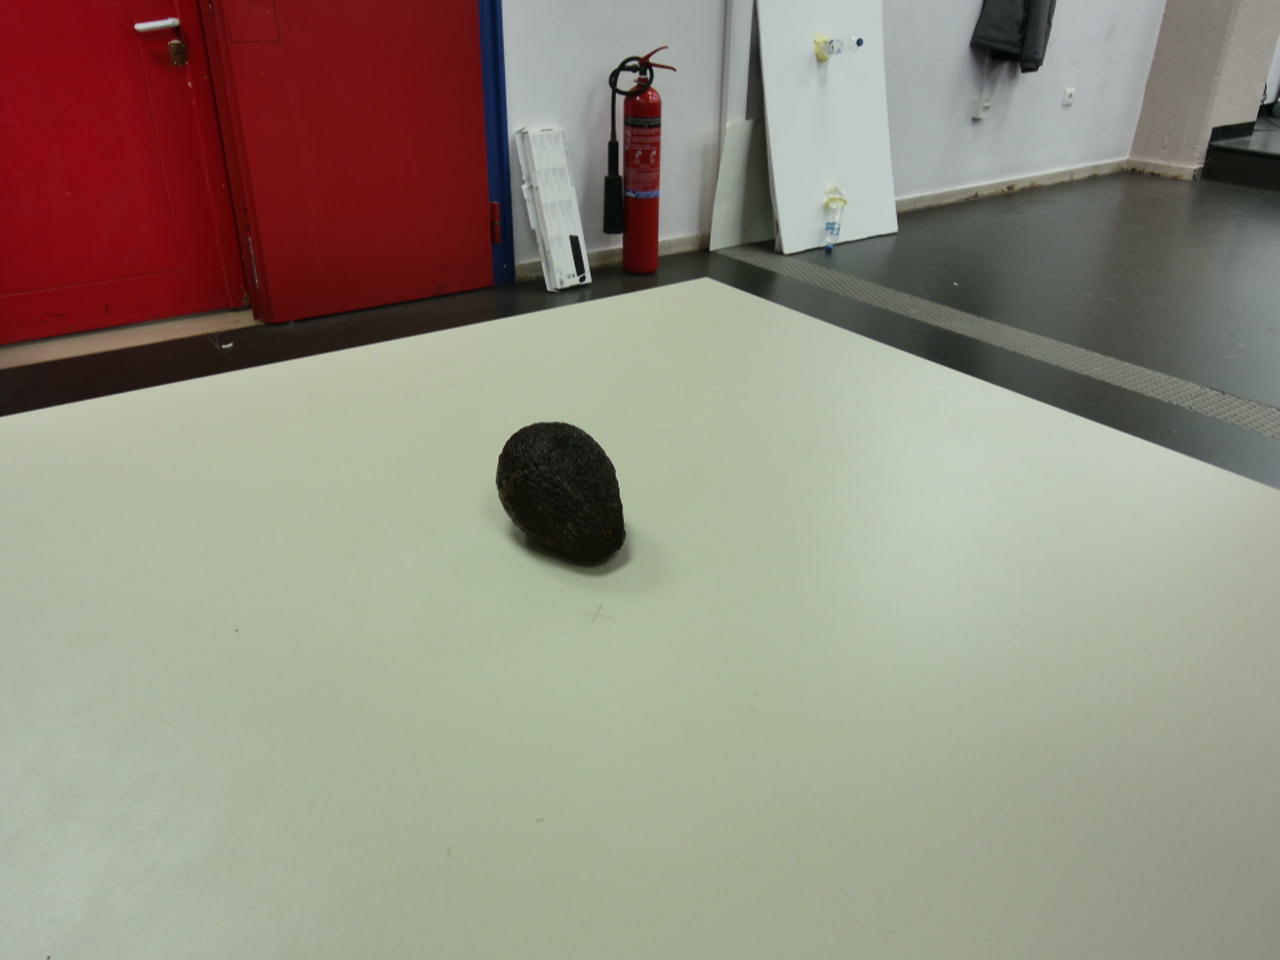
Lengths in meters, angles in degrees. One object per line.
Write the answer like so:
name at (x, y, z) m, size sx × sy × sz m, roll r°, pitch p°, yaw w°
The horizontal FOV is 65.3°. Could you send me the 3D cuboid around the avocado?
avocado at (-0.047, 0.005, 0.577) m, size 0.070 × 0.069 × 0.090 m, roll -4°, pitch 26°, yaw -10°
